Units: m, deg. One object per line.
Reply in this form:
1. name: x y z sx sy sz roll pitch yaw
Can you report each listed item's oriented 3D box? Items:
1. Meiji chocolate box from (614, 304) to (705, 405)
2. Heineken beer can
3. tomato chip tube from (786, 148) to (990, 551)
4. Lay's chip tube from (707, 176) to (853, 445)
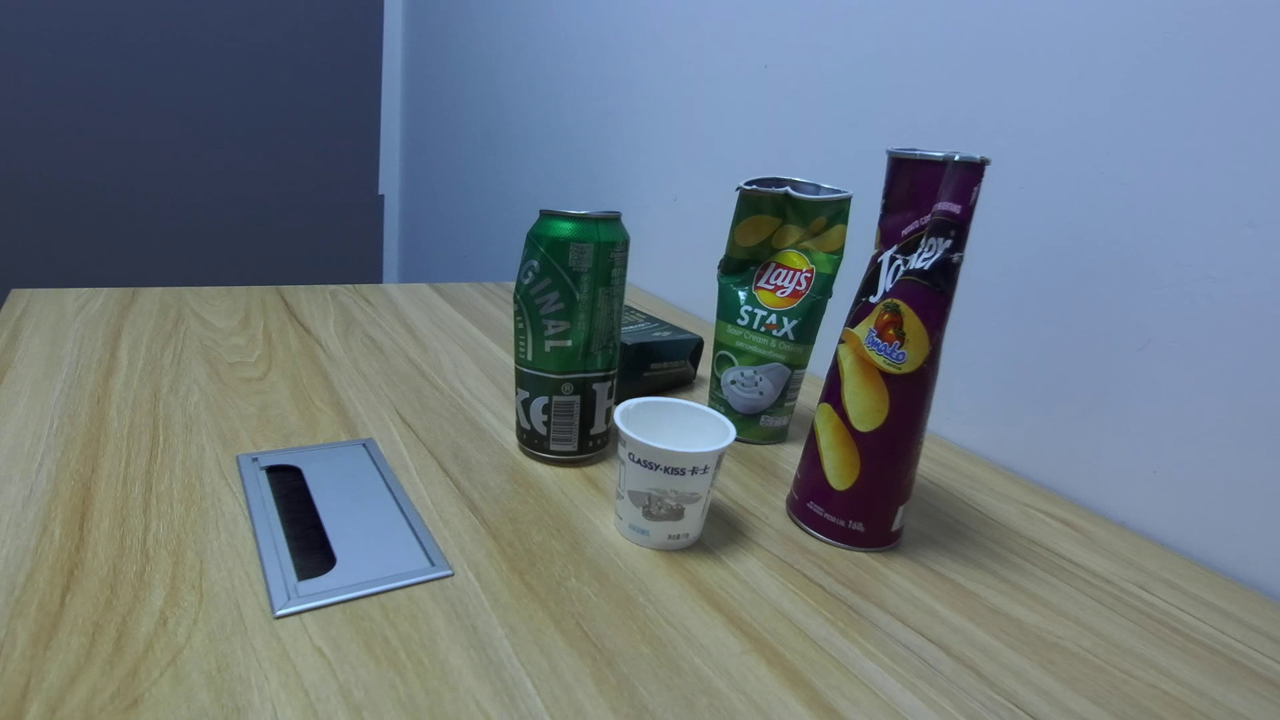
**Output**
1. Meiji chocolate box: -0.017 -0.009 0.659 0.122 0.058 0.116 24 23 38
2. Heineken beer can: -0.047 -0.016 0.482 0.068 0.168 0.069 7 15 4
3. tomato chip tube: 0.148 -0.006 0.428 0.077 0.235 0.090 19 23 32
4. Lay's chip tube: 0.101 -0.037 0.549 0.077 0.201 0.069 3 19 -7
